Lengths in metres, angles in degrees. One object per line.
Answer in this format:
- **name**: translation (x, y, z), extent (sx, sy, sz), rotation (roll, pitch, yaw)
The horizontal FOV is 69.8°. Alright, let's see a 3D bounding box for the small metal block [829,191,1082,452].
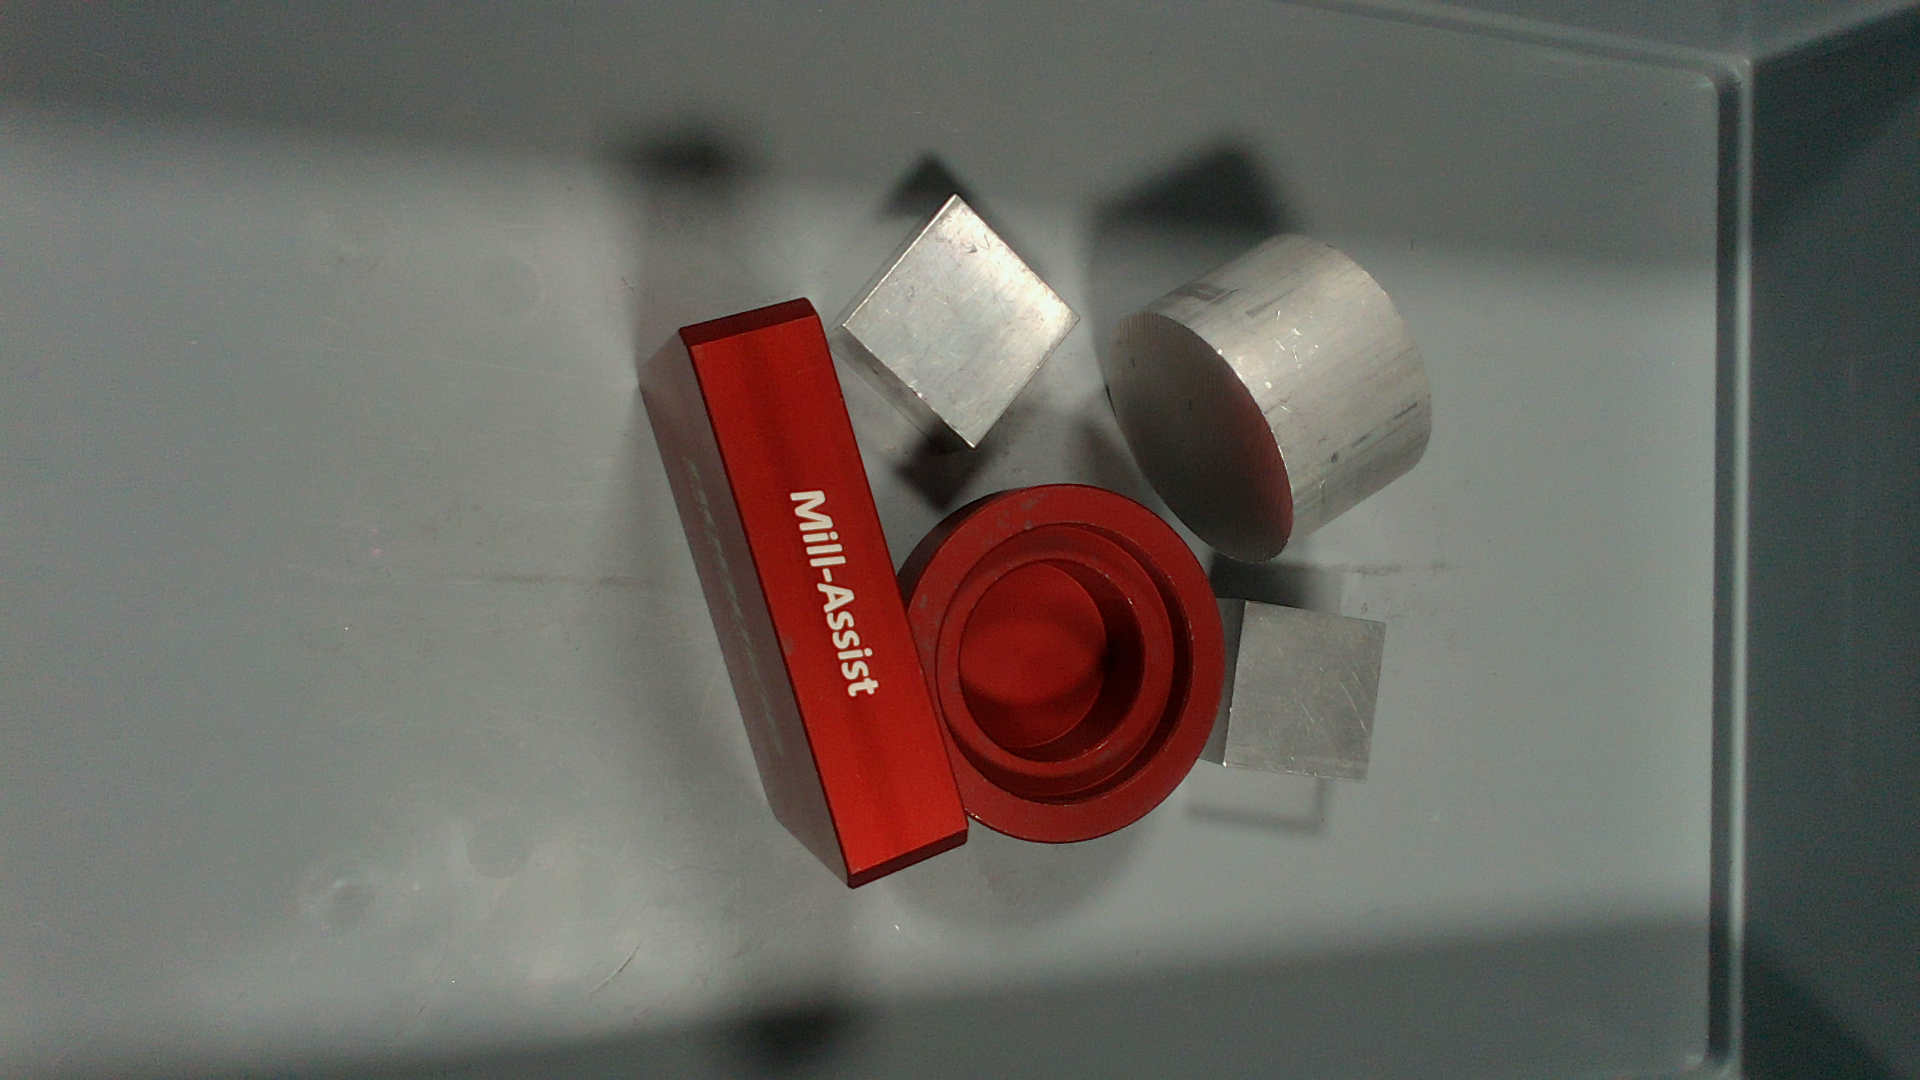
- **small metal block**: translation (-0.003, -0.061, 0.391), extent (0.050, 0.025, 0.050), rotation (42, 78, -14)

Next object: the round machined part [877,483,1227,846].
- **round machined part**: translation (0.023, 0.033, 0.390), extent (0.098, 0.042, 0.098), rotation (0, 90, -20)

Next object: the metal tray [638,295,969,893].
- **metal tray**: translation (-0.042, 0.012, 0.342), extent (0.030, 0.090, 0.130), rotation (-18, 96, -18)

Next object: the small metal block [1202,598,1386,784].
- **small metal block**: translation (0.101, 0.047, 0.429), extent (0.050, 0.025, 0.050), rotation (10, 86, -18)

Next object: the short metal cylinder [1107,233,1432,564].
- **short metal cylinder**: translation (0.087, -0.040, 0.395), extent (0.050, 0.080, 0.080), rotation (-31, 100, -17)
